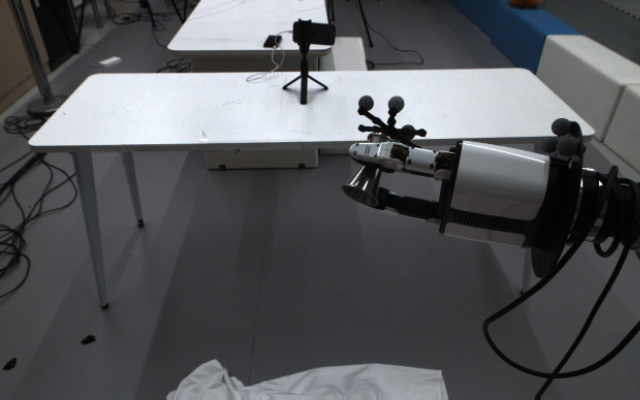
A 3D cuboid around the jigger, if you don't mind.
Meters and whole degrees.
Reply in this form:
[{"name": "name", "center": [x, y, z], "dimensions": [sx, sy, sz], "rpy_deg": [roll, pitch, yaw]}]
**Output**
[{"name": "jigger", "center": [0.056, -0.036, 0.524], "dimensions": [0.043, 0.043, 0.071], "rpy_deg": [20, 73, 24]}]
